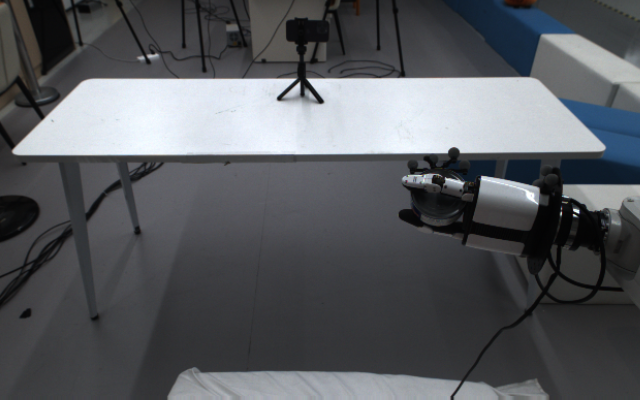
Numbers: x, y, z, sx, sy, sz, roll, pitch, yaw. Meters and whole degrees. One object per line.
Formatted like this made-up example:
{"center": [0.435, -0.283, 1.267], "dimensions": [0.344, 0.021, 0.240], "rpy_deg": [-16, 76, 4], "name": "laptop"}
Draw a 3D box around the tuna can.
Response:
{"center": [0.182, -0.005, 0.742], "dimensions": [0.085, 0.034, 0.085], "rpy_deg": [-4, 61, 7], "name": "tuna can"}
